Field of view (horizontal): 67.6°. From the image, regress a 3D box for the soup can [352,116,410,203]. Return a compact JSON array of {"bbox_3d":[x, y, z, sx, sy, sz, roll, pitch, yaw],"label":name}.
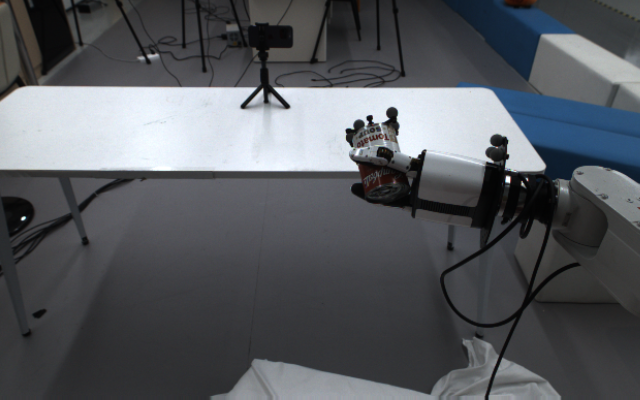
[{"bbox_3d":[0.091,-0.054,0.719,0.067,0.067,0.101,-6,67,-12],"label":"soup can"}]
